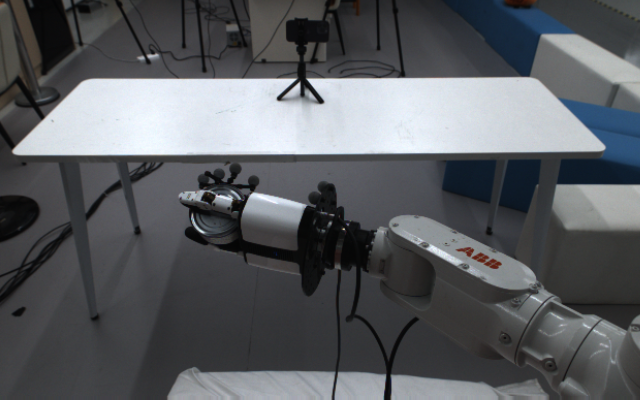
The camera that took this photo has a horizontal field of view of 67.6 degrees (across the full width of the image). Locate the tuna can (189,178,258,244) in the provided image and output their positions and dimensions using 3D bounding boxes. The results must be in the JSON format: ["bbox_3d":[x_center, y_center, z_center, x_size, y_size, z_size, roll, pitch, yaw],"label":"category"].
[{"bbox_3d":[-0.145,0.022,0.712,0.085,0.034,0.085,-3,61,5],"label":"tuna can"}]
